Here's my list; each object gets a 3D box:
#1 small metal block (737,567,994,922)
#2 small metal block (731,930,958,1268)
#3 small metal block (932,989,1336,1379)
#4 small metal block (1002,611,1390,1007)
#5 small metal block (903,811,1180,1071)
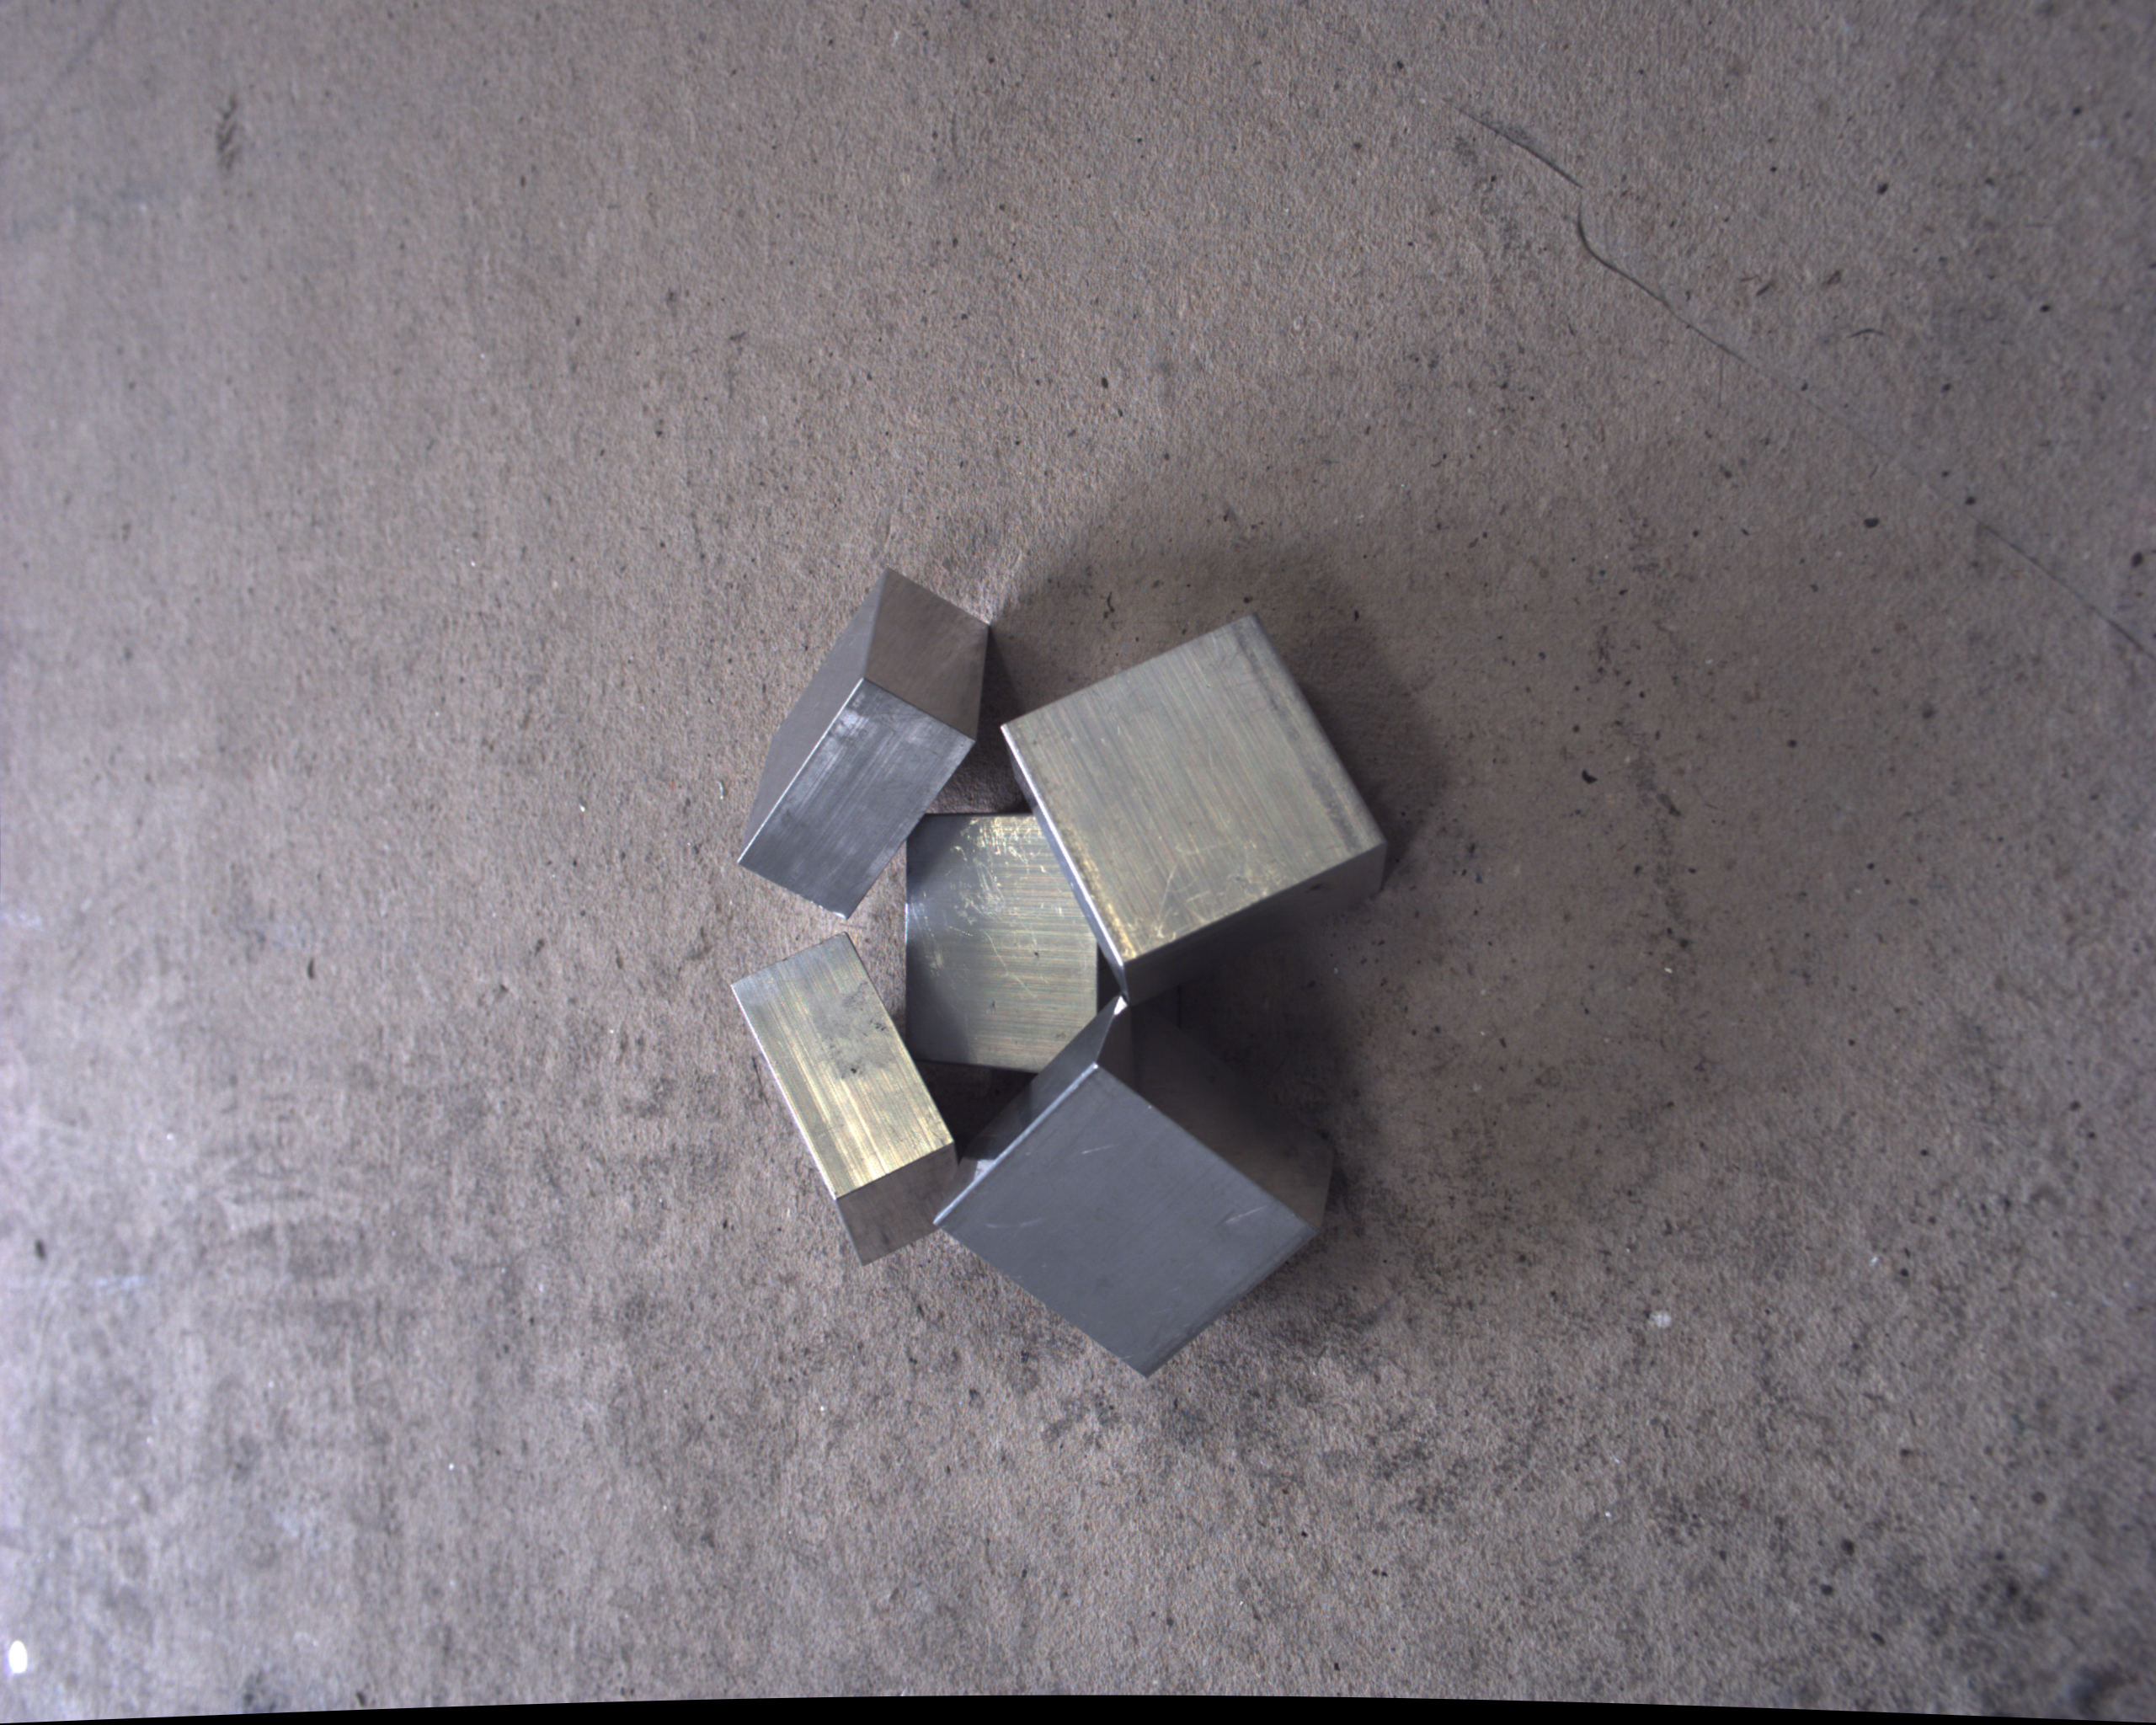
[{"bbox_3d":[-0.043,-0.025,0.425,0.050,0.025,0.050,-52,18,27],"label":"small metal block"},{"bbox_3d":[-0.046,0.049,0.427,0.050,0.025,0.050,60,168,23],"label":"small metal block"},{"bbox_3d":[0.010,0.059,0.382,0.050,0.025,0.050,38,120,-8],"label":"small metal block"},{"bbox_3d":[0.021,-0.010,0.374,0.050,0.025,0.050,-25,70,-6],"label":"small metal block"},{"bbox_3d":[-0.008,0.015,0.413,0.050,0.025,0.050,0,90,38],"label":"small metal block"}]
